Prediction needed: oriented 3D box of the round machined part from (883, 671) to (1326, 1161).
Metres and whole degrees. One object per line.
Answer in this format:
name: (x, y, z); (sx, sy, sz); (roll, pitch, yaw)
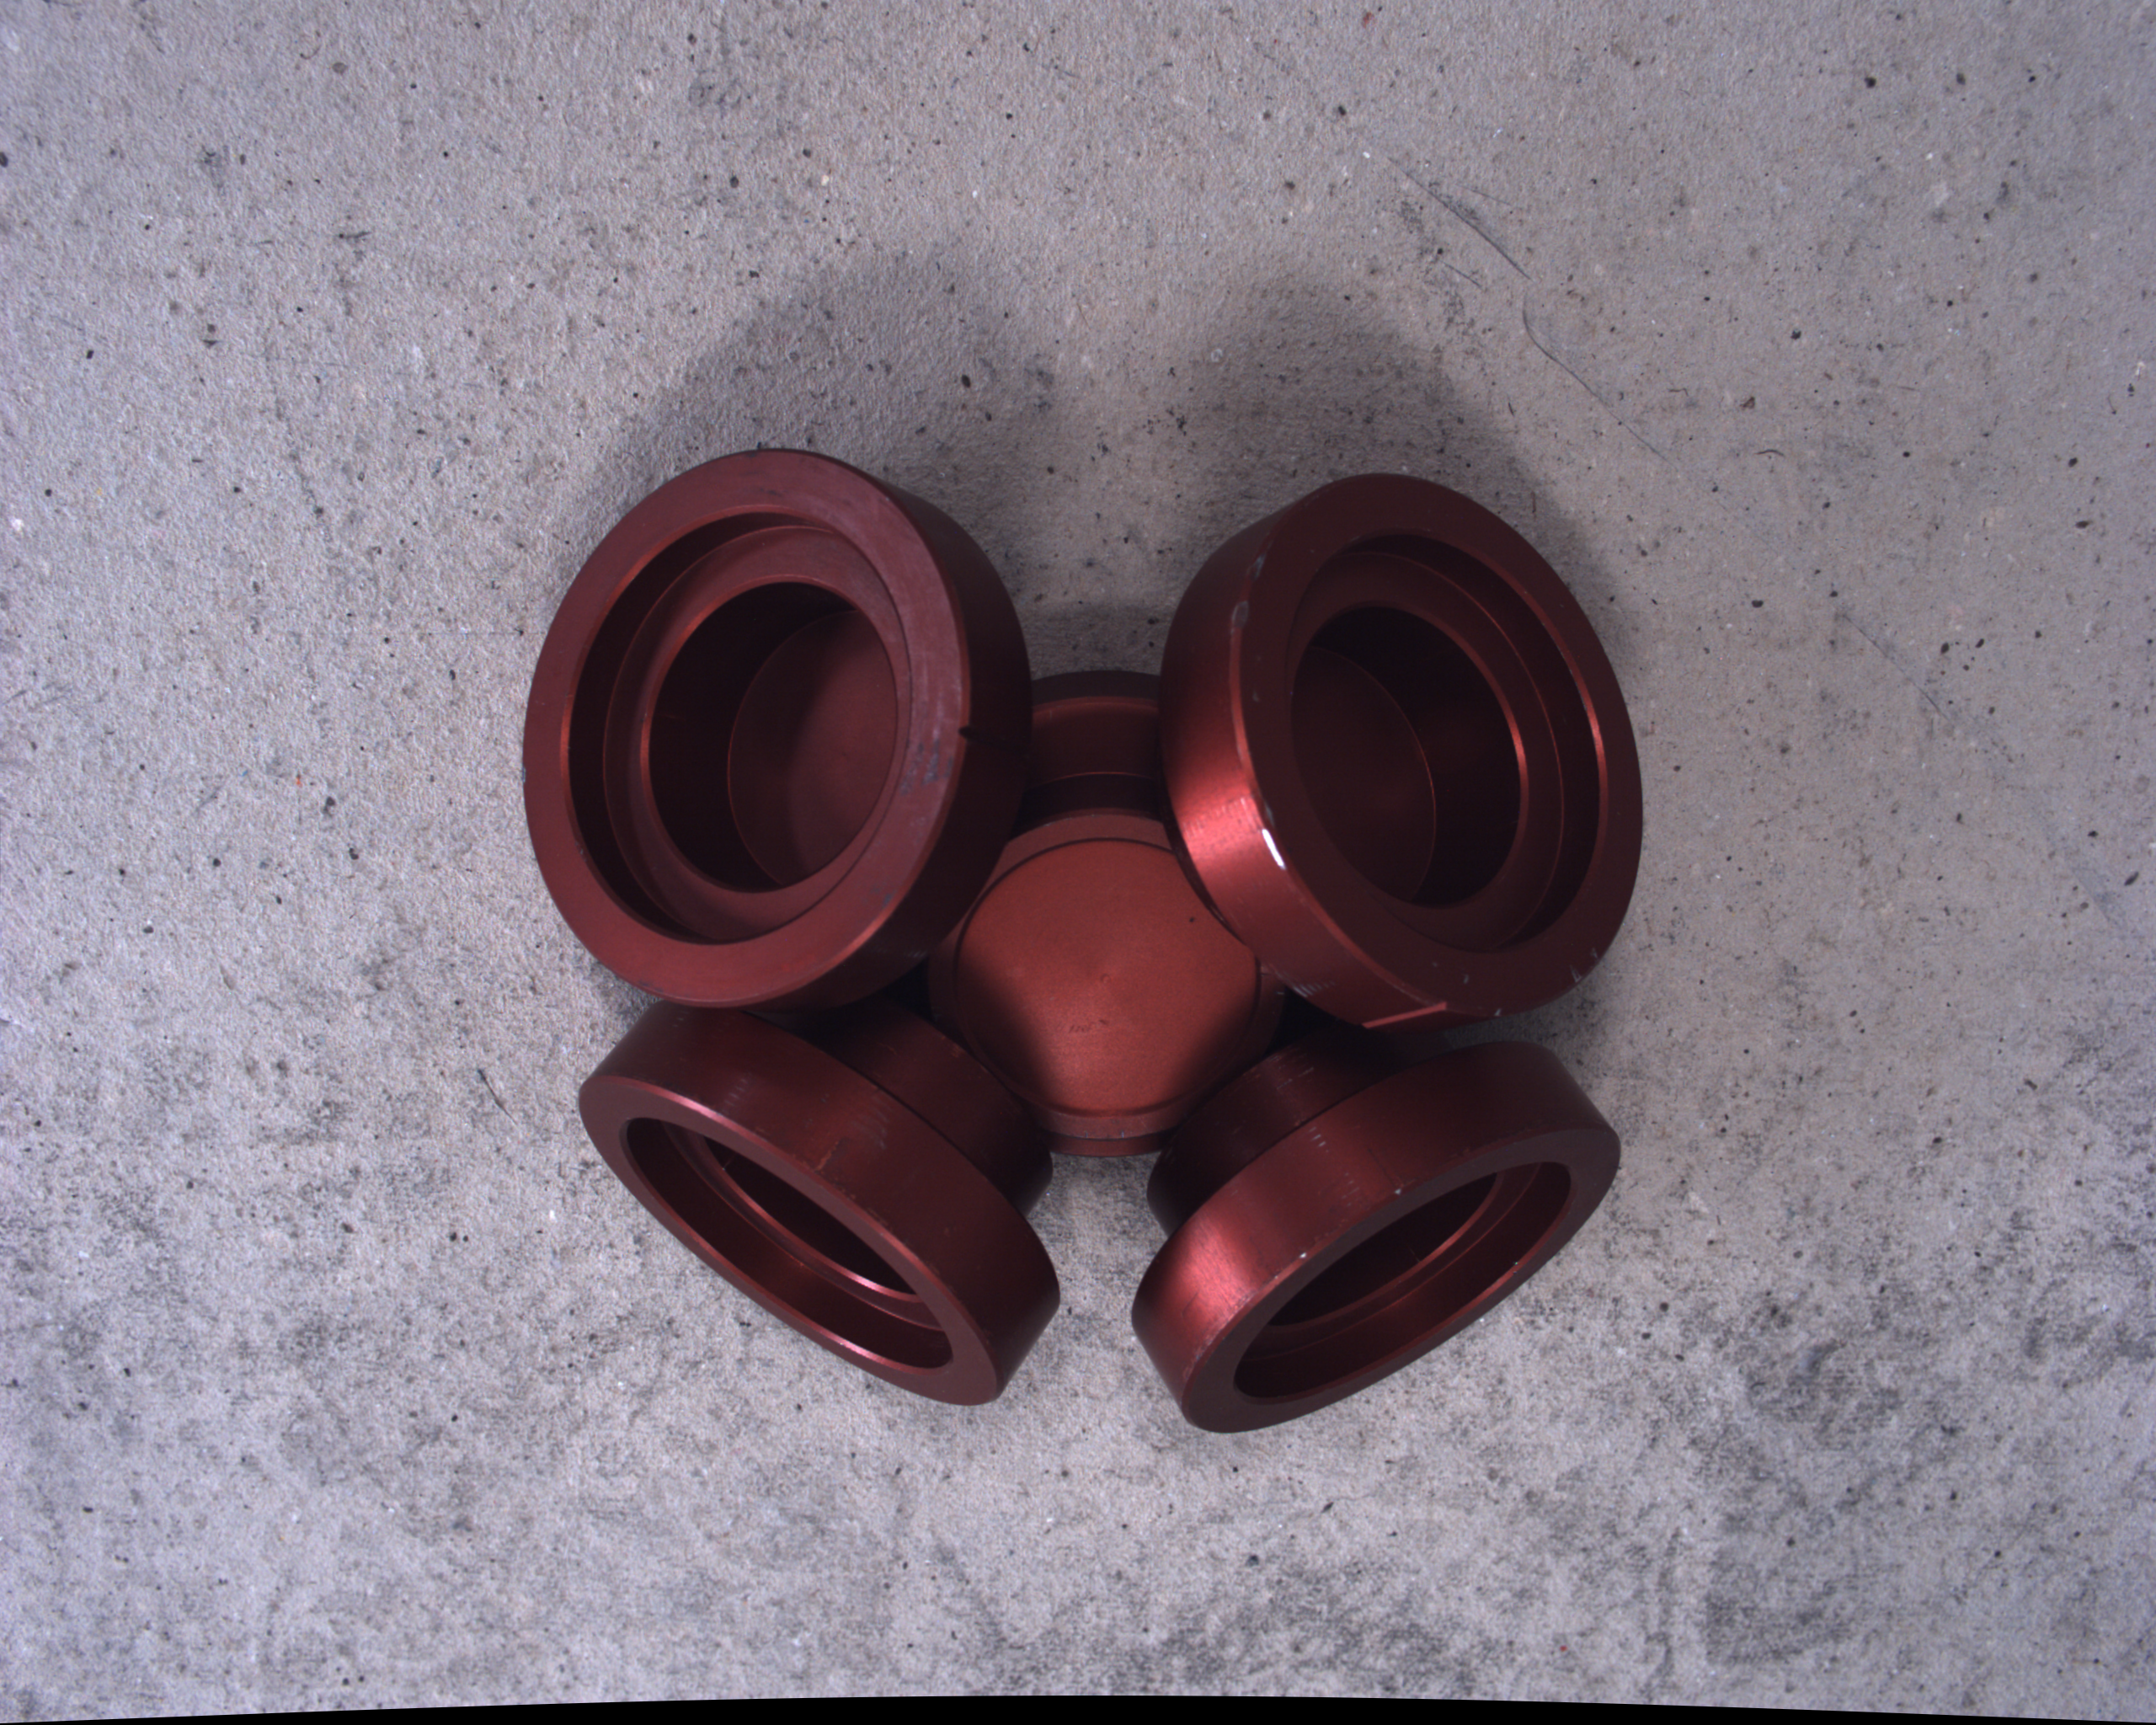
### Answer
round machined part: (0.005, 0.015, 0.407); (0.099, 0.042, 0.097); (-1, 108, -1)

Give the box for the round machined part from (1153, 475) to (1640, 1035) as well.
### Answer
round machined part: (0.053, -0.017, 0.377); (0.098, 0.098, 0.042); (48, 144, -15)

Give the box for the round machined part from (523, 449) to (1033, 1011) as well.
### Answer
round machined part: (-0.049, -0.021, 0.377); (0.098, 0.042, 0.097); (-5, 80, 30)

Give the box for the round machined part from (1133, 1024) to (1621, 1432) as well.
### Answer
round machined part: (0.053, 0.066, 0.409); (0.099, 0.042, 0.098); (-24, 148, -16)

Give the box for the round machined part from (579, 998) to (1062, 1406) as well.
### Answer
round machined part: (-0.044, 0.059, 0.404); (0.098, 0.098, 0.042); (45, 61, -15)
